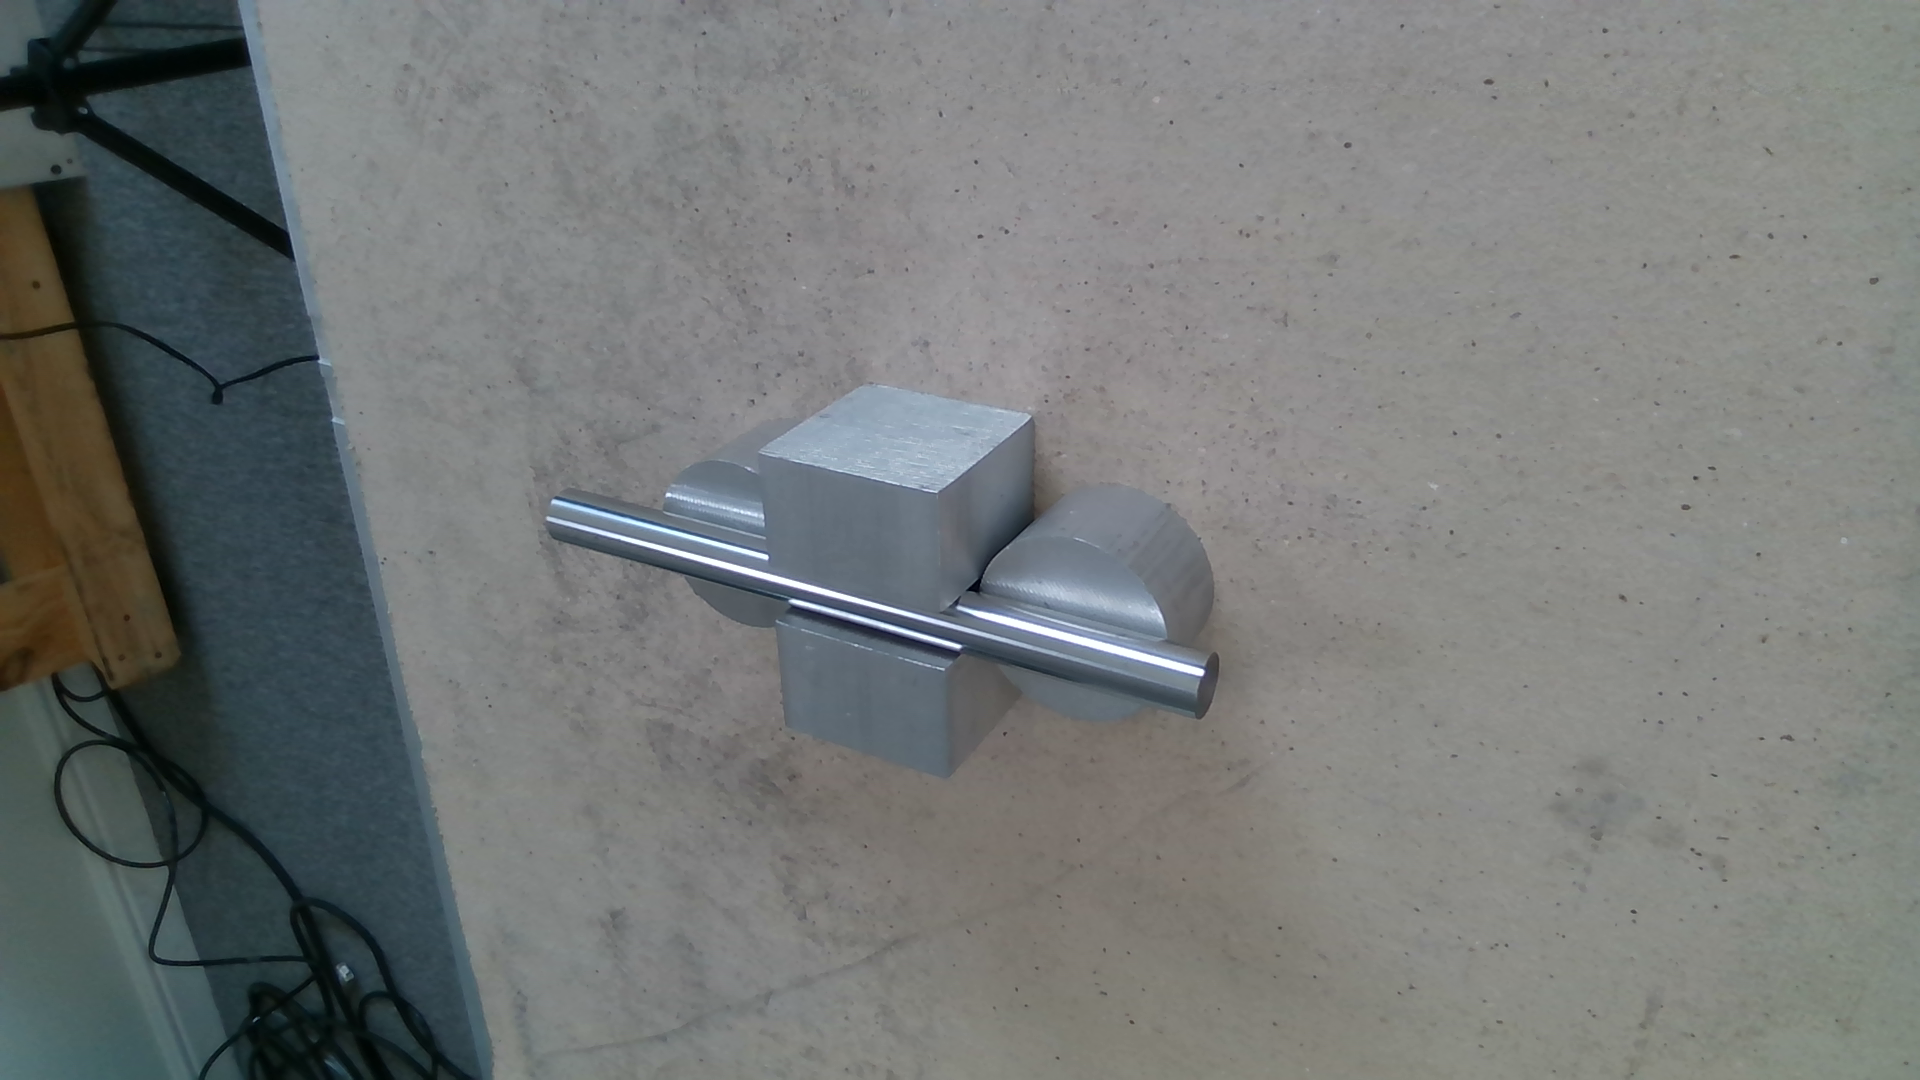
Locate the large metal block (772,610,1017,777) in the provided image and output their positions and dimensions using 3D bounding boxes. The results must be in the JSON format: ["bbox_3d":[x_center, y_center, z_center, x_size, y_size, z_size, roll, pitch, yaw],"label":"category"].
[{"bbox_3d":[-0.022,0.047,0.584,0.080,0.080,0.050,13,121,25],"label":"large metal block"}]

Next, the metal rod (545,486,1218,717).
[{"bbox_3d":[-0.044,0.020,0.553,0.300,0.025,0.025,13,121,25],"label":"metal rod"}]

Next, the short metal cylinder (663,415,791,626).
[{"bbox_3d":[-0.084,-0.009,0.612,0.080,0.050,0.080,14,122,24],"label":"short metal cylinder"}]

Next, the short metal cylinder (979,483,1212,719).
[{"bbox_3d":[0.053,0.023,0.544,0.080,0.050,0.080,14,122,24],"label":"short metal cylinder"}]

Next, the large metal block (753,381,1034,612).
[{"bbox_3d":[-0.024,-0.020,0.548,0.080,0.080,0.050,13,121,25],"label":"large metal block"}]
